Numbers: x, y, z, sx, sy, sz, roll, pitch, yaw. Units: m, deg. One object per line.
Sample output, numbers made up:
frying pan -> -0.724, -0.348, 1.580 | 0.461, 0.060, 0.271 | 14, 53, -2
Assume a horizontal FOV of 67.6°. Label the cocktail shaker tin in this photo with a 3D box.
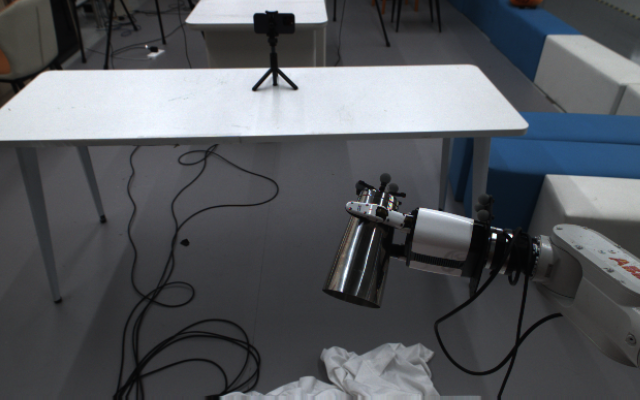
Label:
cocktail shaker tin -> 0.073, 0.070, 0.759 | 0.093, 0.093, 0.170 | 13, 72, 15
